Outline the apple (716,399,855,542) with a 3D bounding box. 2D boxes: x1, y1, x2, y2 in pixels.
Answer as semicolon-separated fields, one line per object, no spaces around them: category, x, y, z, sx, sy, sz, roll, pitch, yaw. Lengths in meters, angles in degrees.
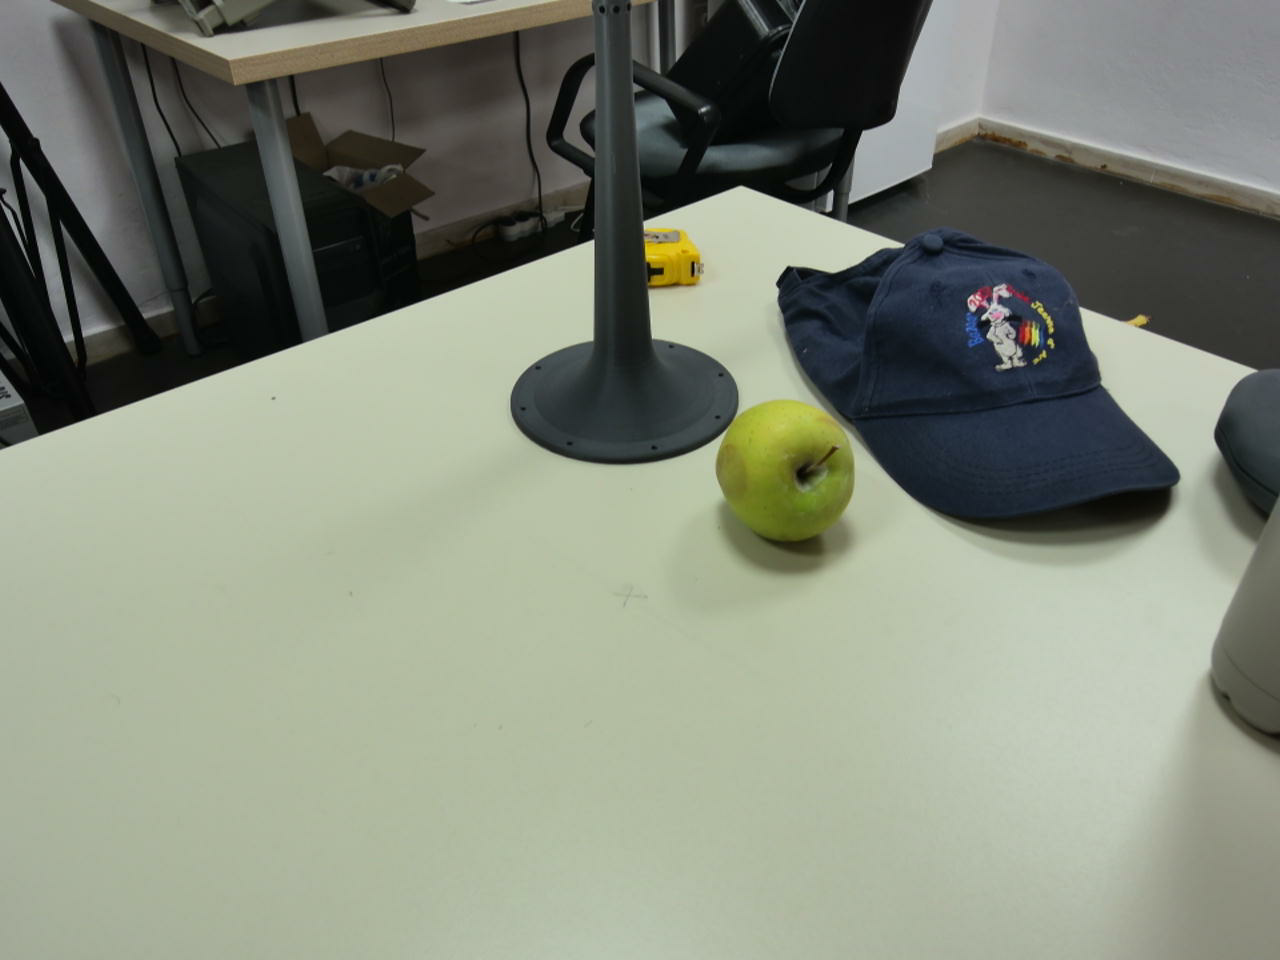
apple;0.077;-0.007;0.531;0.072;0.075;0.077;2;36;4
